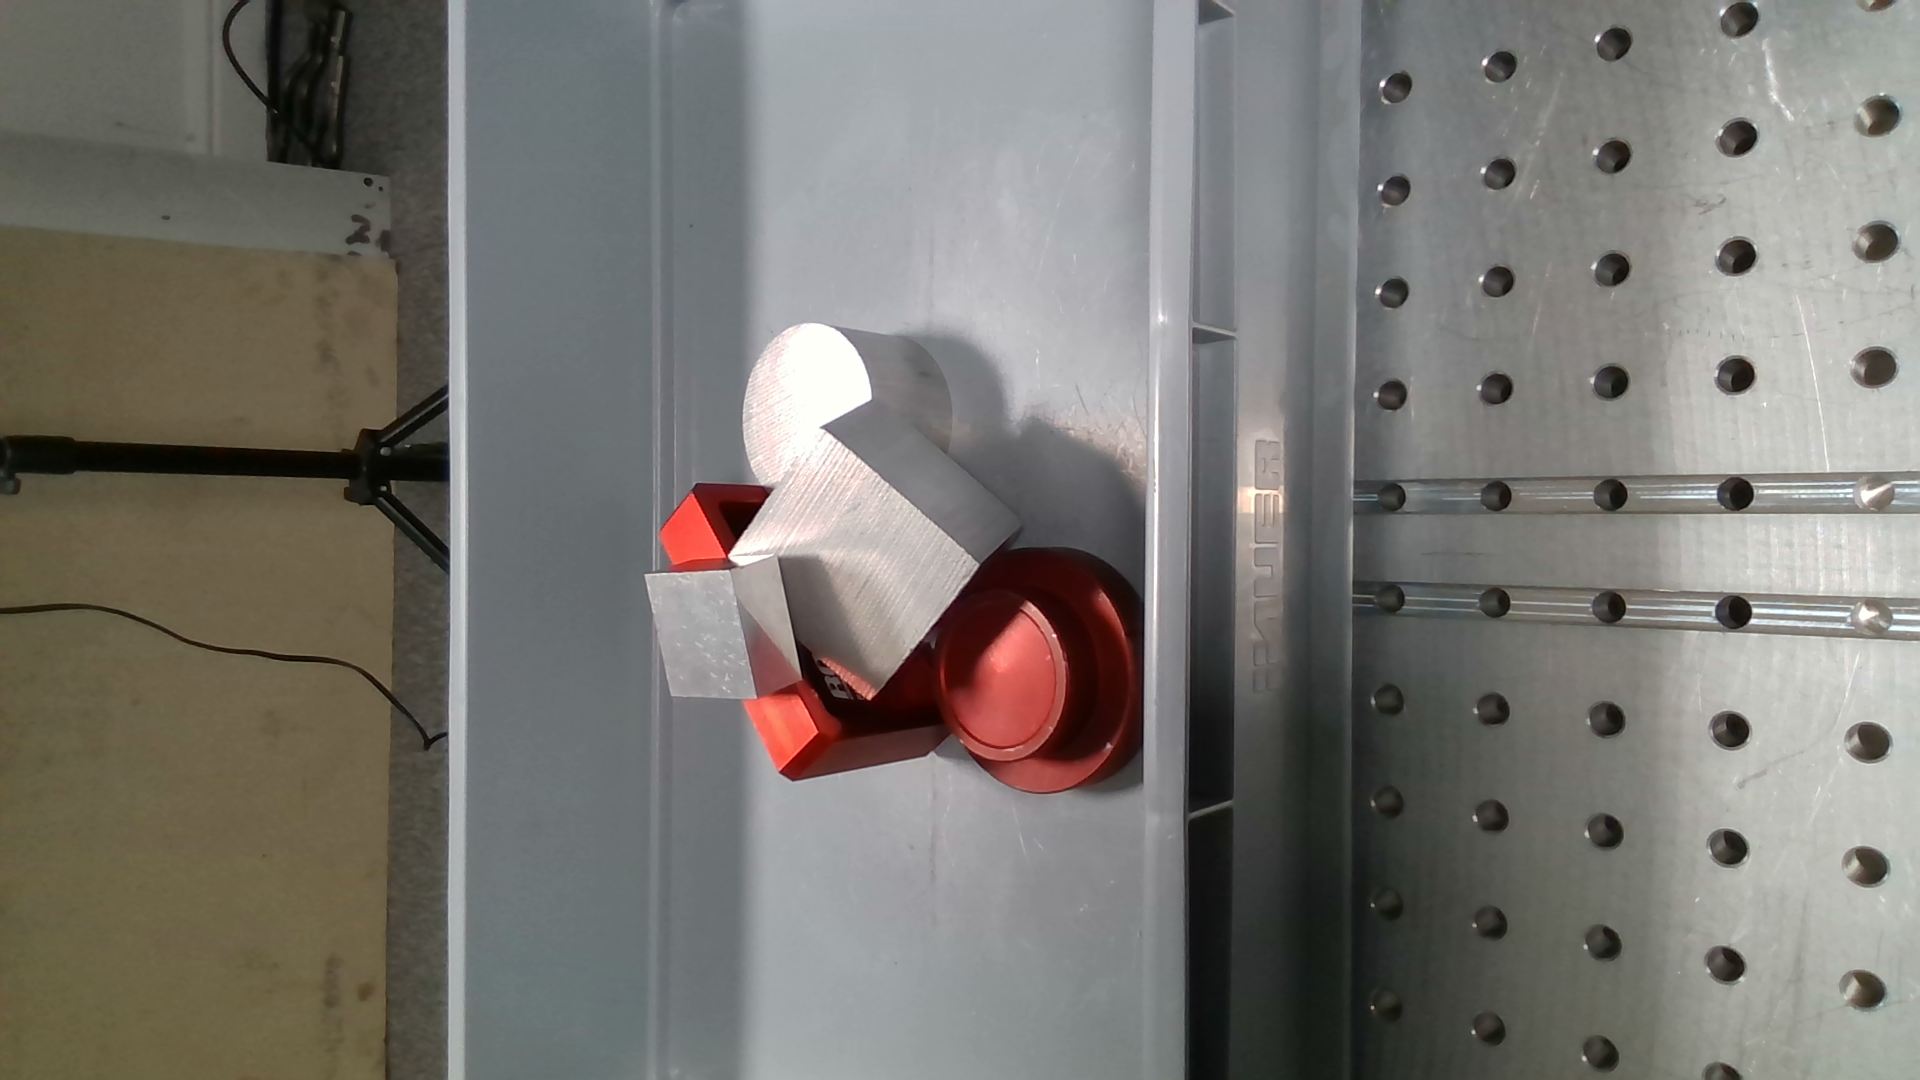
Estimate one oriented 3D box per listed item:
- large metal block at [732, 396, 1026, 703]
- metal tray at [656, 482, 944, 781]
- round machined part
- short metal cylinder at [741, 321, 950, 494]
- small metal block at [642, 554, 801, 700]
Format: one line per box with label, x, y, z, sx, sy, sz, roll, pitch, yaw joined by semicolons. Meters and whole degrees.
large metal block;-0.035;0.002;0.547;0.080;0.050;0.080;41;118;5
metal tray;-0.064;0.035;0.591;0.030;0.090;0.130;-46;63;30
round machined part;0.027;0.052;0.547;0.098;0.042;0.098;0;91;40
short metal cylinder;-0.051;-0.053;0.606;0.080;0.050;0.080;0;91;40
small metal block;-0.093;0.034;0.534;0.050;0.025;0.050;-3;101;40
